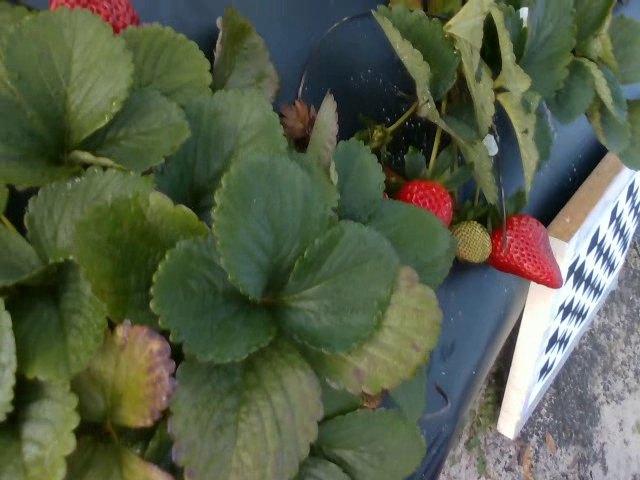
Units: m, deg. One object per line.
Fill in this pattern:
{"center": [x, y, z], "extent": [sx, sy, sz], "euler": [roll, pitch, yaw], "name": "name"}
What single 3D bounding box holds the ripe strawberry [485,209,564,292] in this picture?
{"center": [0.064, 0.005, 0.180], "extent": [0.022, 0.030, 0.025], "euler": [-30, -31, -5], "name": "ripe strawberry"}
